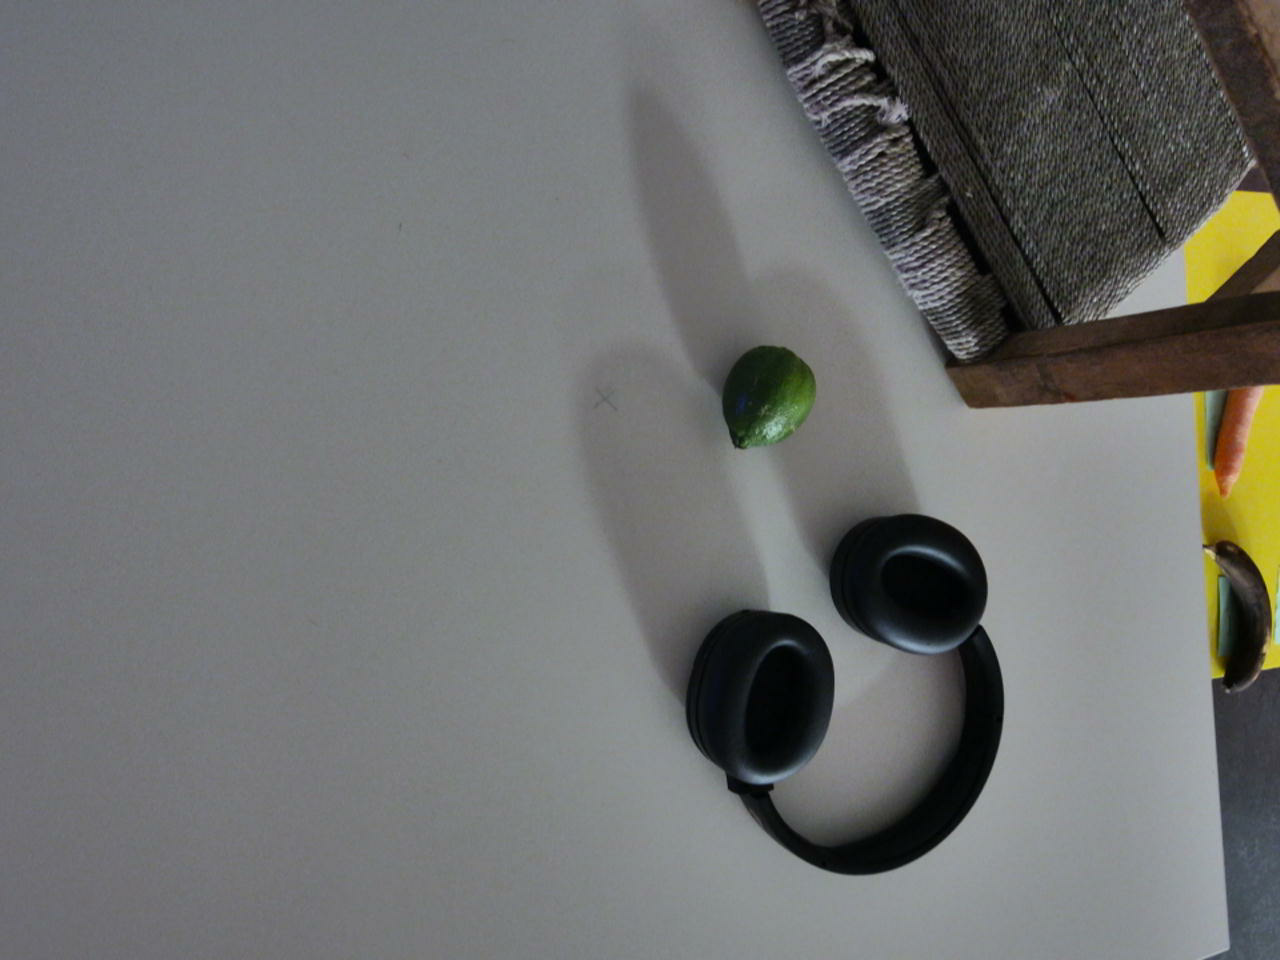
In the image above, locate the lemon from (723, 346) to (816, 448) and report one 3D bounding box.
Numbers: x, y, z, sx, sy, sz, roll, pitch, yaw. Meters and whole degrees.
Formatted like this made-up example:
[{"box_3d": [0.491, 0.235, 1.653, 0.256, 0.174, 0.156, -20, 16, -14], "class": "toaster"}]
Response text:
[{"box_3d": [0.075, -0.049, 0.578, 0.054, 0.051, 0.057, -10, 95, -22], "class": "lemon"}]
